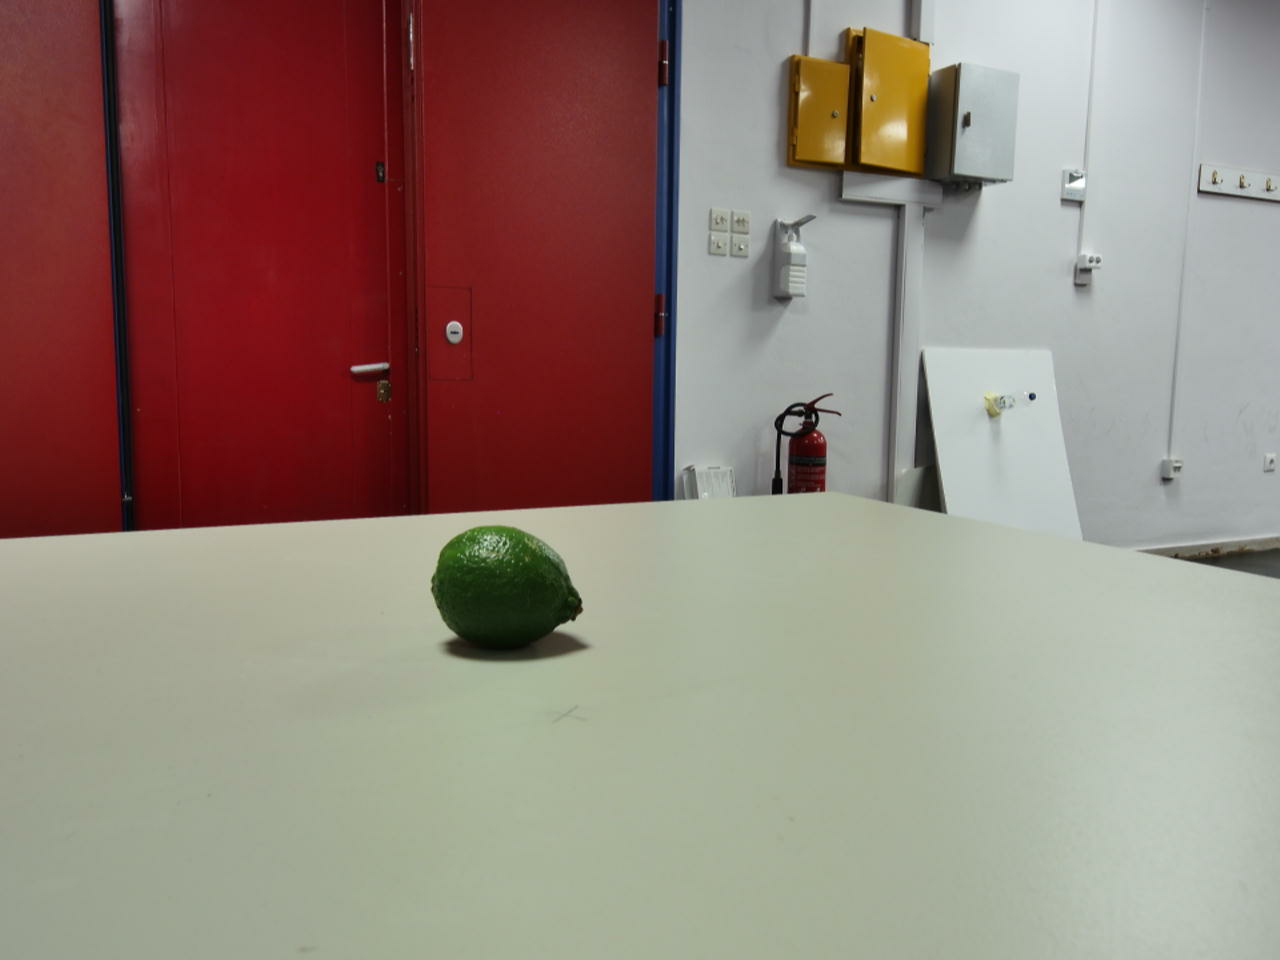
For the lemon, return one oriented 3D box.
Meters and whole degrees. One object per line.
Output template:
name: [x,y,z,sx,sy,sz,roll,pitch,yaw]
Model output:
lemon: [-0.059,0.044,0.423,0.057,0.051,0.054,-2,4,-30]
